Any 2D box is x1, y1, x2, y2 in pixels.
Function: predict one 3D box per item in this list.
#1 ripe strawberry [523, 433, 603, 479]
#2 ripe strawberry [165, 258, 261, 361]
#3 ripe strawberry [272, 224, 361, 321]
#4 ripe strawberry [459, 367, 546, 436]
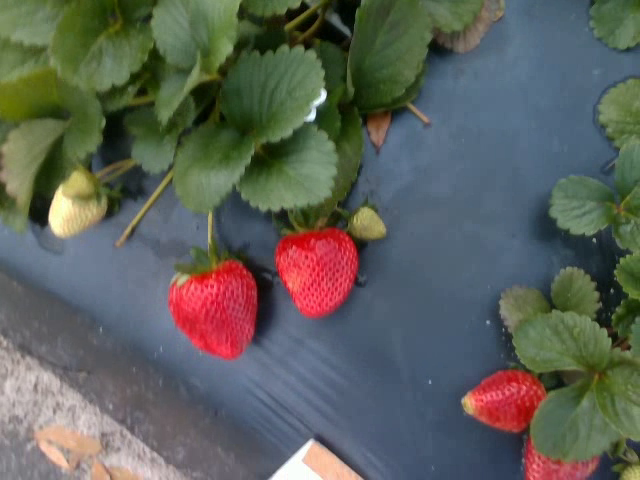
[{"bbox_3d":[0.125,0.125,0.299,0.044,0.049,0.041,35,-26,6],"label":"ripe strawberry"},{"bbox_3d":[-0.063,0.047,0.332,0.059,0.065,0.043,-17,1,37],"label":"ripe strawberry"},{"bbox_3d":[-0.003,0.021,0.320,0.051,0.059,0.051,-23,-35,39],"label":"ripe strawberry"},{"bbox_3d":[0.098,0.092,0.309,0.053,0.047,0.038,1,38,-11],"label":"ripe strawberry"}]
